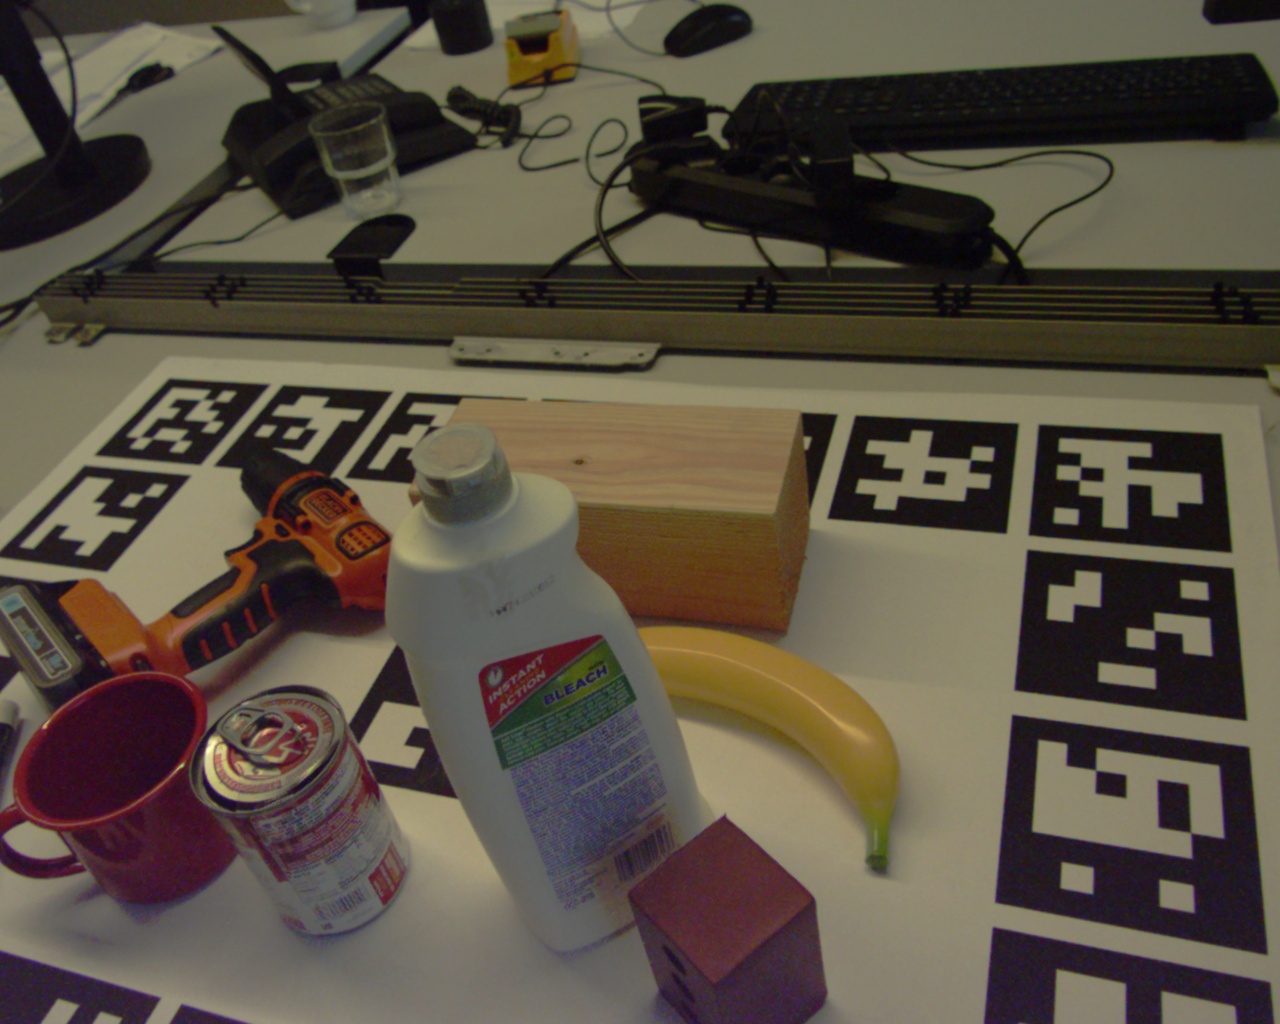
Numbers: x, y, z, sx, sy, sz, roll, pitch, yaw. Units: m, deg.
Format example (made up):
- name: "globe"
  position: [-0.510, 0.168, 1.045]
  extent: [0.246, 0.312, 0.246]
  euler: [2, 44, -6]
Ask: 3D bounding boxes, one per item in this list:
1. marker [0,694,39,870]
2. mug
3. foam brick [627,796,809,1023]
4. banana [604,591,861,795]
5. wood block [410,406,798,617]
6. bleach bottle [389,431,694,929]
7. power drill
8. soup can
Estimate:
- name: "marker"
  position: [-0.364, 0.155, 0.653]
  extent: [0.019, 0.019, 0.122]
  euler: [-17, 41, -2]
- name: "mug"
  position: [-0.259, 0.137, 0.593]
  extent: [0.116, 0.081, 0.094]
  euler: [-29, 45, -14]
- name: "foam brick"
  position: [0.034, 0.172, 0.483]
  extent: [0.051, 0.077, 0.053]
  euler: [-31, 42, -24]
- name: "banana"
  position: [0.037, 0.080, 0.610]
  extent: [0.200, 0.038, 0.074]
  euler: [19, 63, 29]
- name: "wood block"
  position: [-0.017, -0.001, 0.684]
  extent: [0.208, 0.090, 0.090]
  euler: [4, 44, 19]
- name: "bleach bottle"
  position: [-0.041, 0.070, 0.485]
  extent: [0.102, 0.249, 0.069]
  euler: [-36, 45, -27]
- name: "power drill"
  position: [-0.260, 0.049, 0.721]
  extent: [0.185, 0.057, 0.187]
  euler: [-37, 49, -27]
- name: "soup can"
  position: [-0.158, 0.131, 0.550]
  extent: [0.068, 0.101, 0.068]
  euler: [-6, 37, 3]
